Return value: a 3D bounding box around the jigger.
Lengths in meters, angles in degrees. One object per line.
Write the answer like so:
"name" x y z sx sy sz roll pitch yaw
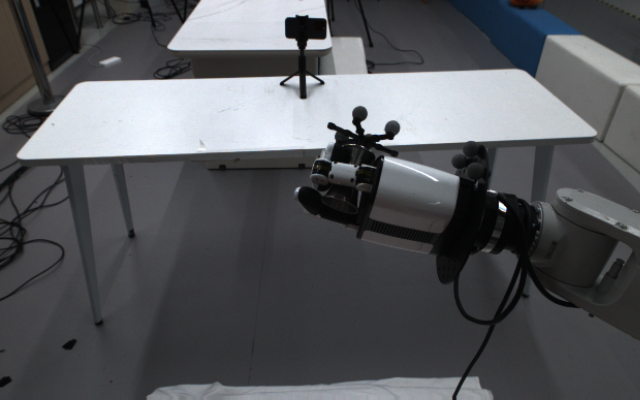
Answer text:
"jigger" 0.032 -0.027 0.545 0.043 0.043 0.071 14 70 17
